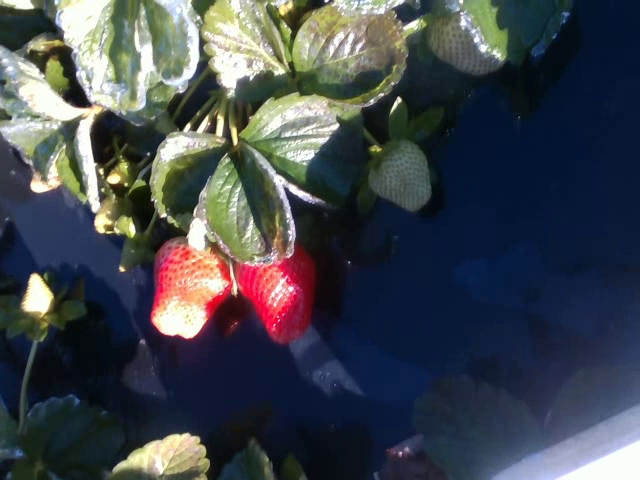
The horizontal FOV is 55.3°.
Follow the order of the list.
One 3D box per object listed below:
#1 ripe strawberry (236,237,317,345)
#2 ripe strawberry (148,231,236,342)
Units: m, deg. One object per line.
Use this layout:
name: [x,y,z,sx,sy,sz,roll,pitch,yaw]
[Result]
ripe strawberry: [-0.027,0.027,0.329,0.043,0.059,0.040,-34,-4,20]
ripe strawberry: [-0.074,0.032,0.354,0.052,0.070,0.040,12,8,6]
